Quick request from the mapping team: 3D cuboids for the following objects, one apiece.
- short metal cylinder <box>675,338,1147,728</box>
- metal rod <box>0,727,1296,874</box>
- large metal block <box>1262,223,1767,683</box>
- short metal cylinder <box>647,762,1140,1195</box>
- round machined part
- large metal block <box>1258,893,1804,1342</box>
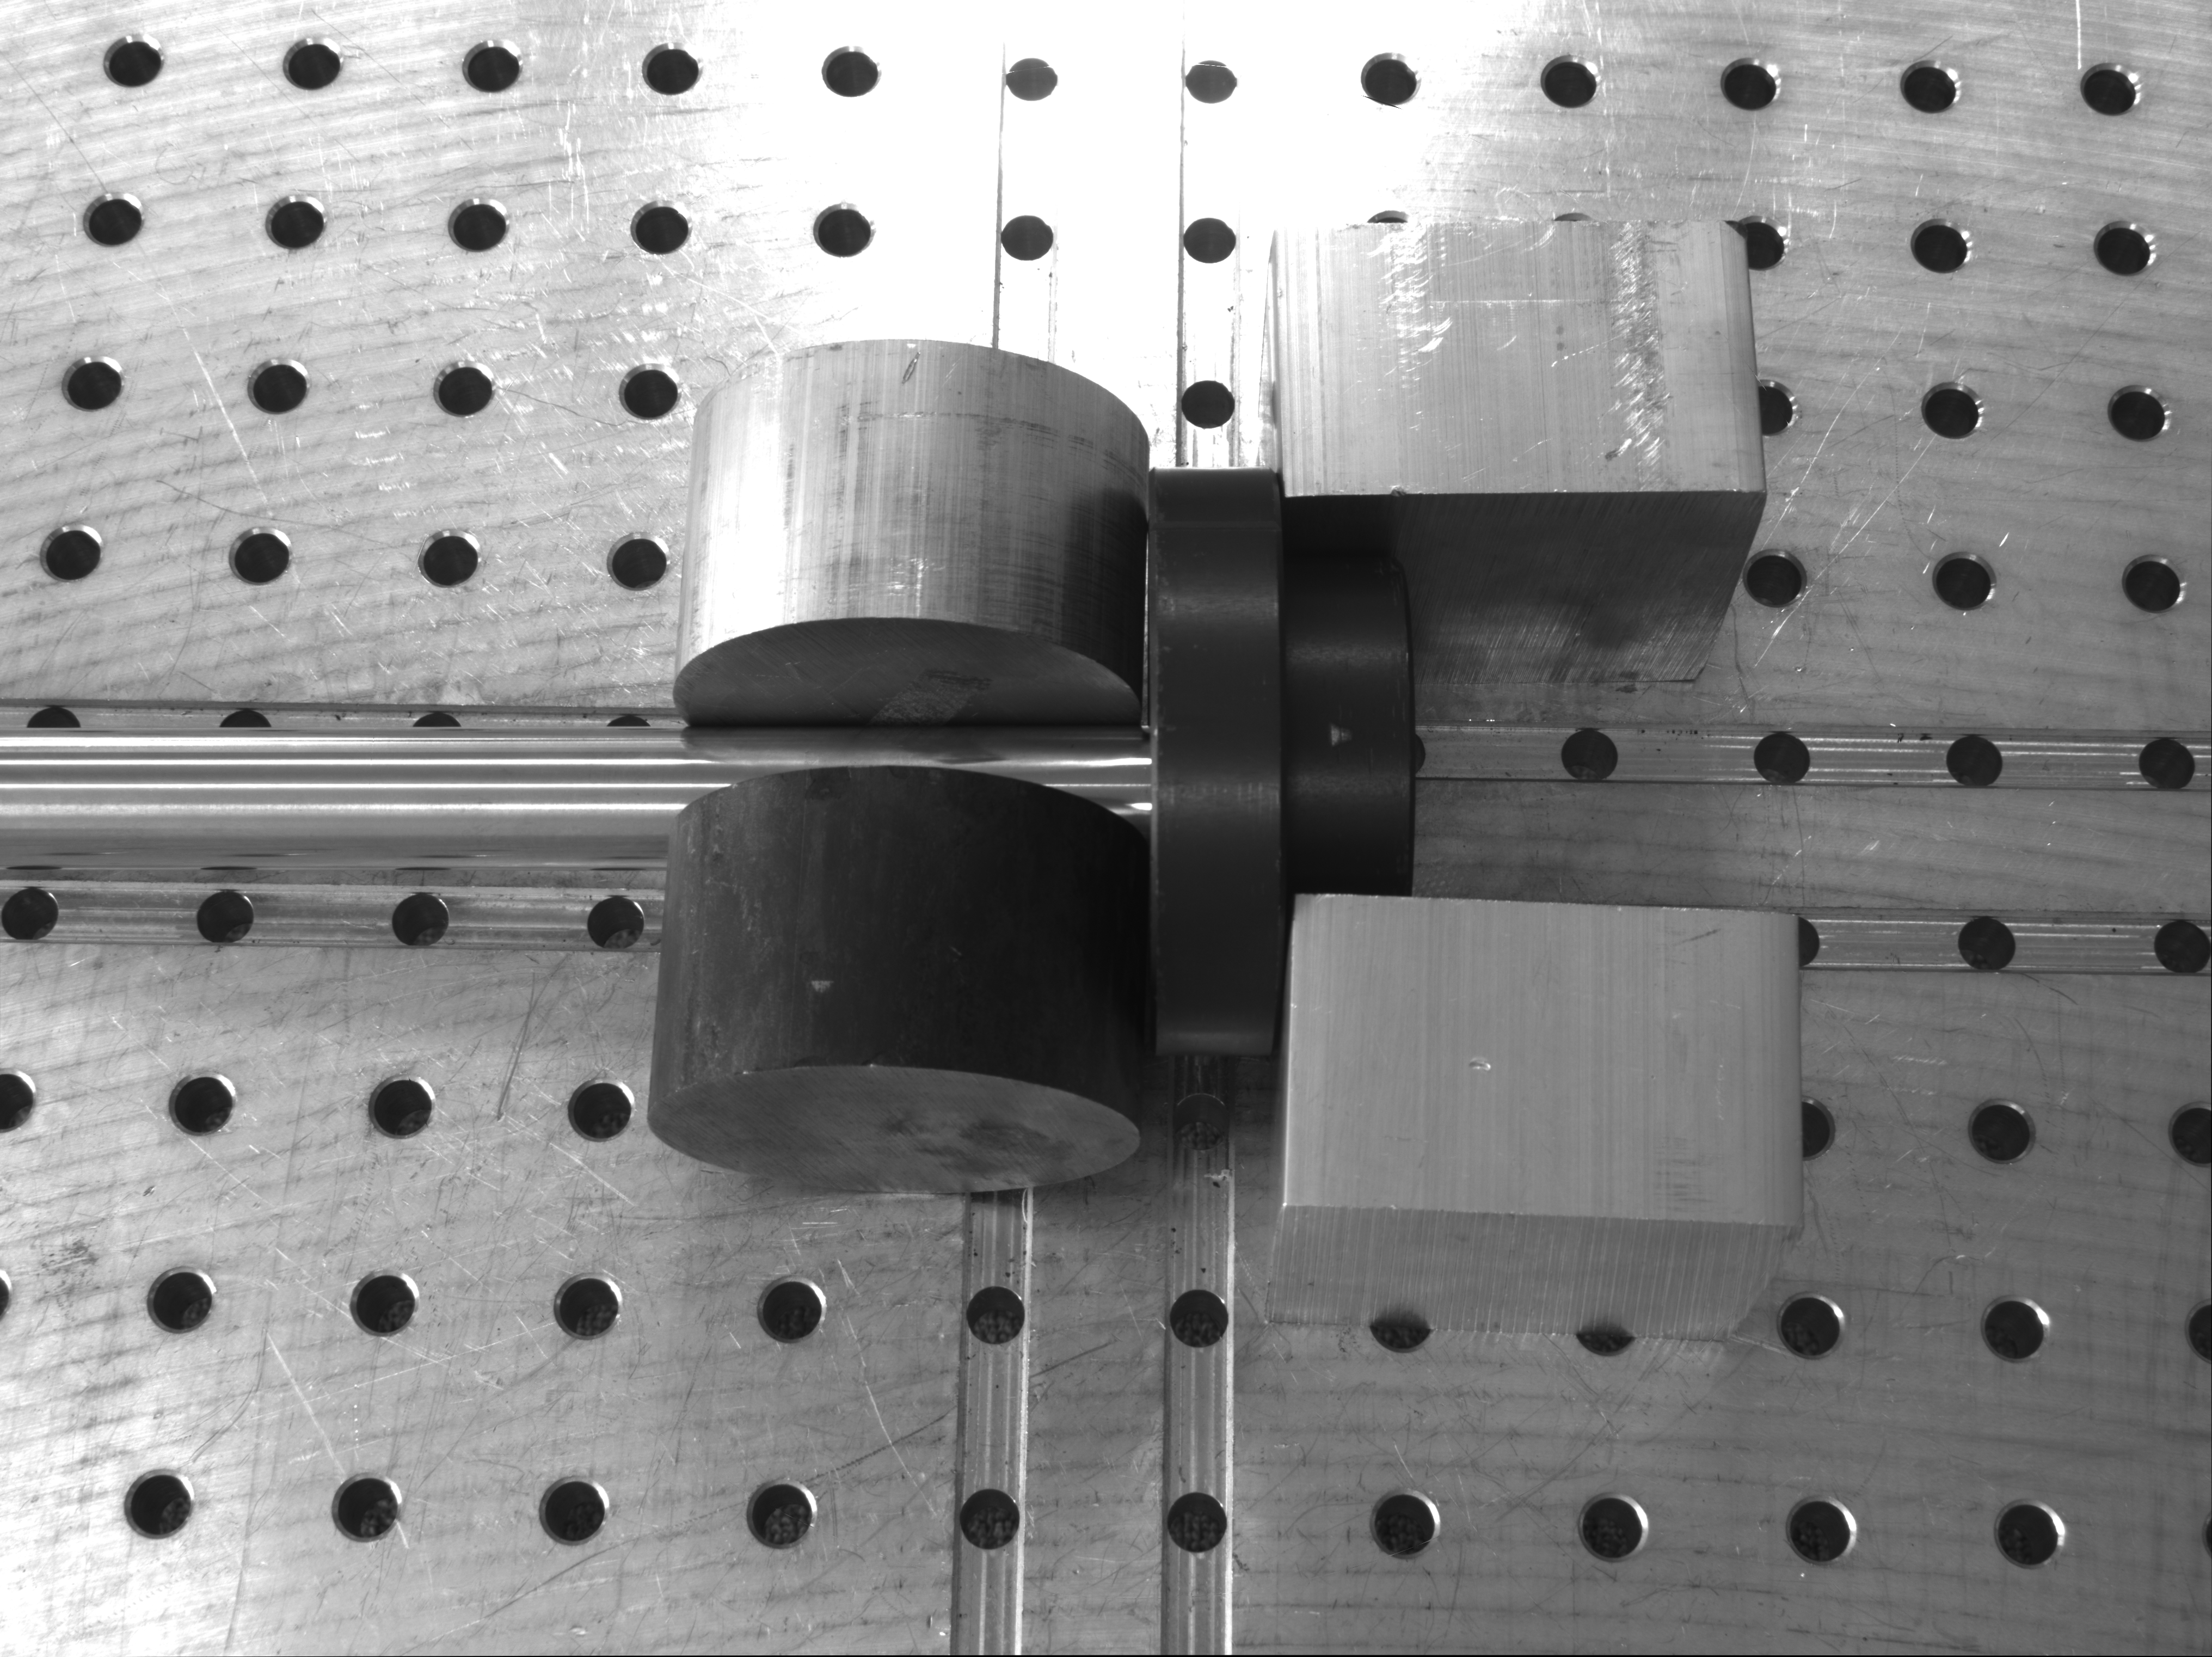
[{"bbox_3d":[-0.033,-0.044,0.634,0.080,0.080,0.050,1,70,0],"label":"short metal cylinder"},{"bbox_3d":[-0.115,-0.005,0.637,0.300,0.025,0.025,0,70,4],"label":"metal rod"},{"bbox_3d":[0.068,-0.064,0.642,0.080,0.080,0.050,0,70,0],"label":"large metal block"},{"bbox_3d":[-0.034,0.027,0.607,0.080,0.080,0.050,1,70,1],"label":"short metal cylinder"},{"bbox_3d":[0.028,-0.011,0.612,0.042,0.098,0.098,1,70,1],"label":"round machined part"},{"bbox_3d":[0.067,0.049,0.601,0.080,0.080,0.050,3,70,1],"label":"large metal block"}]
